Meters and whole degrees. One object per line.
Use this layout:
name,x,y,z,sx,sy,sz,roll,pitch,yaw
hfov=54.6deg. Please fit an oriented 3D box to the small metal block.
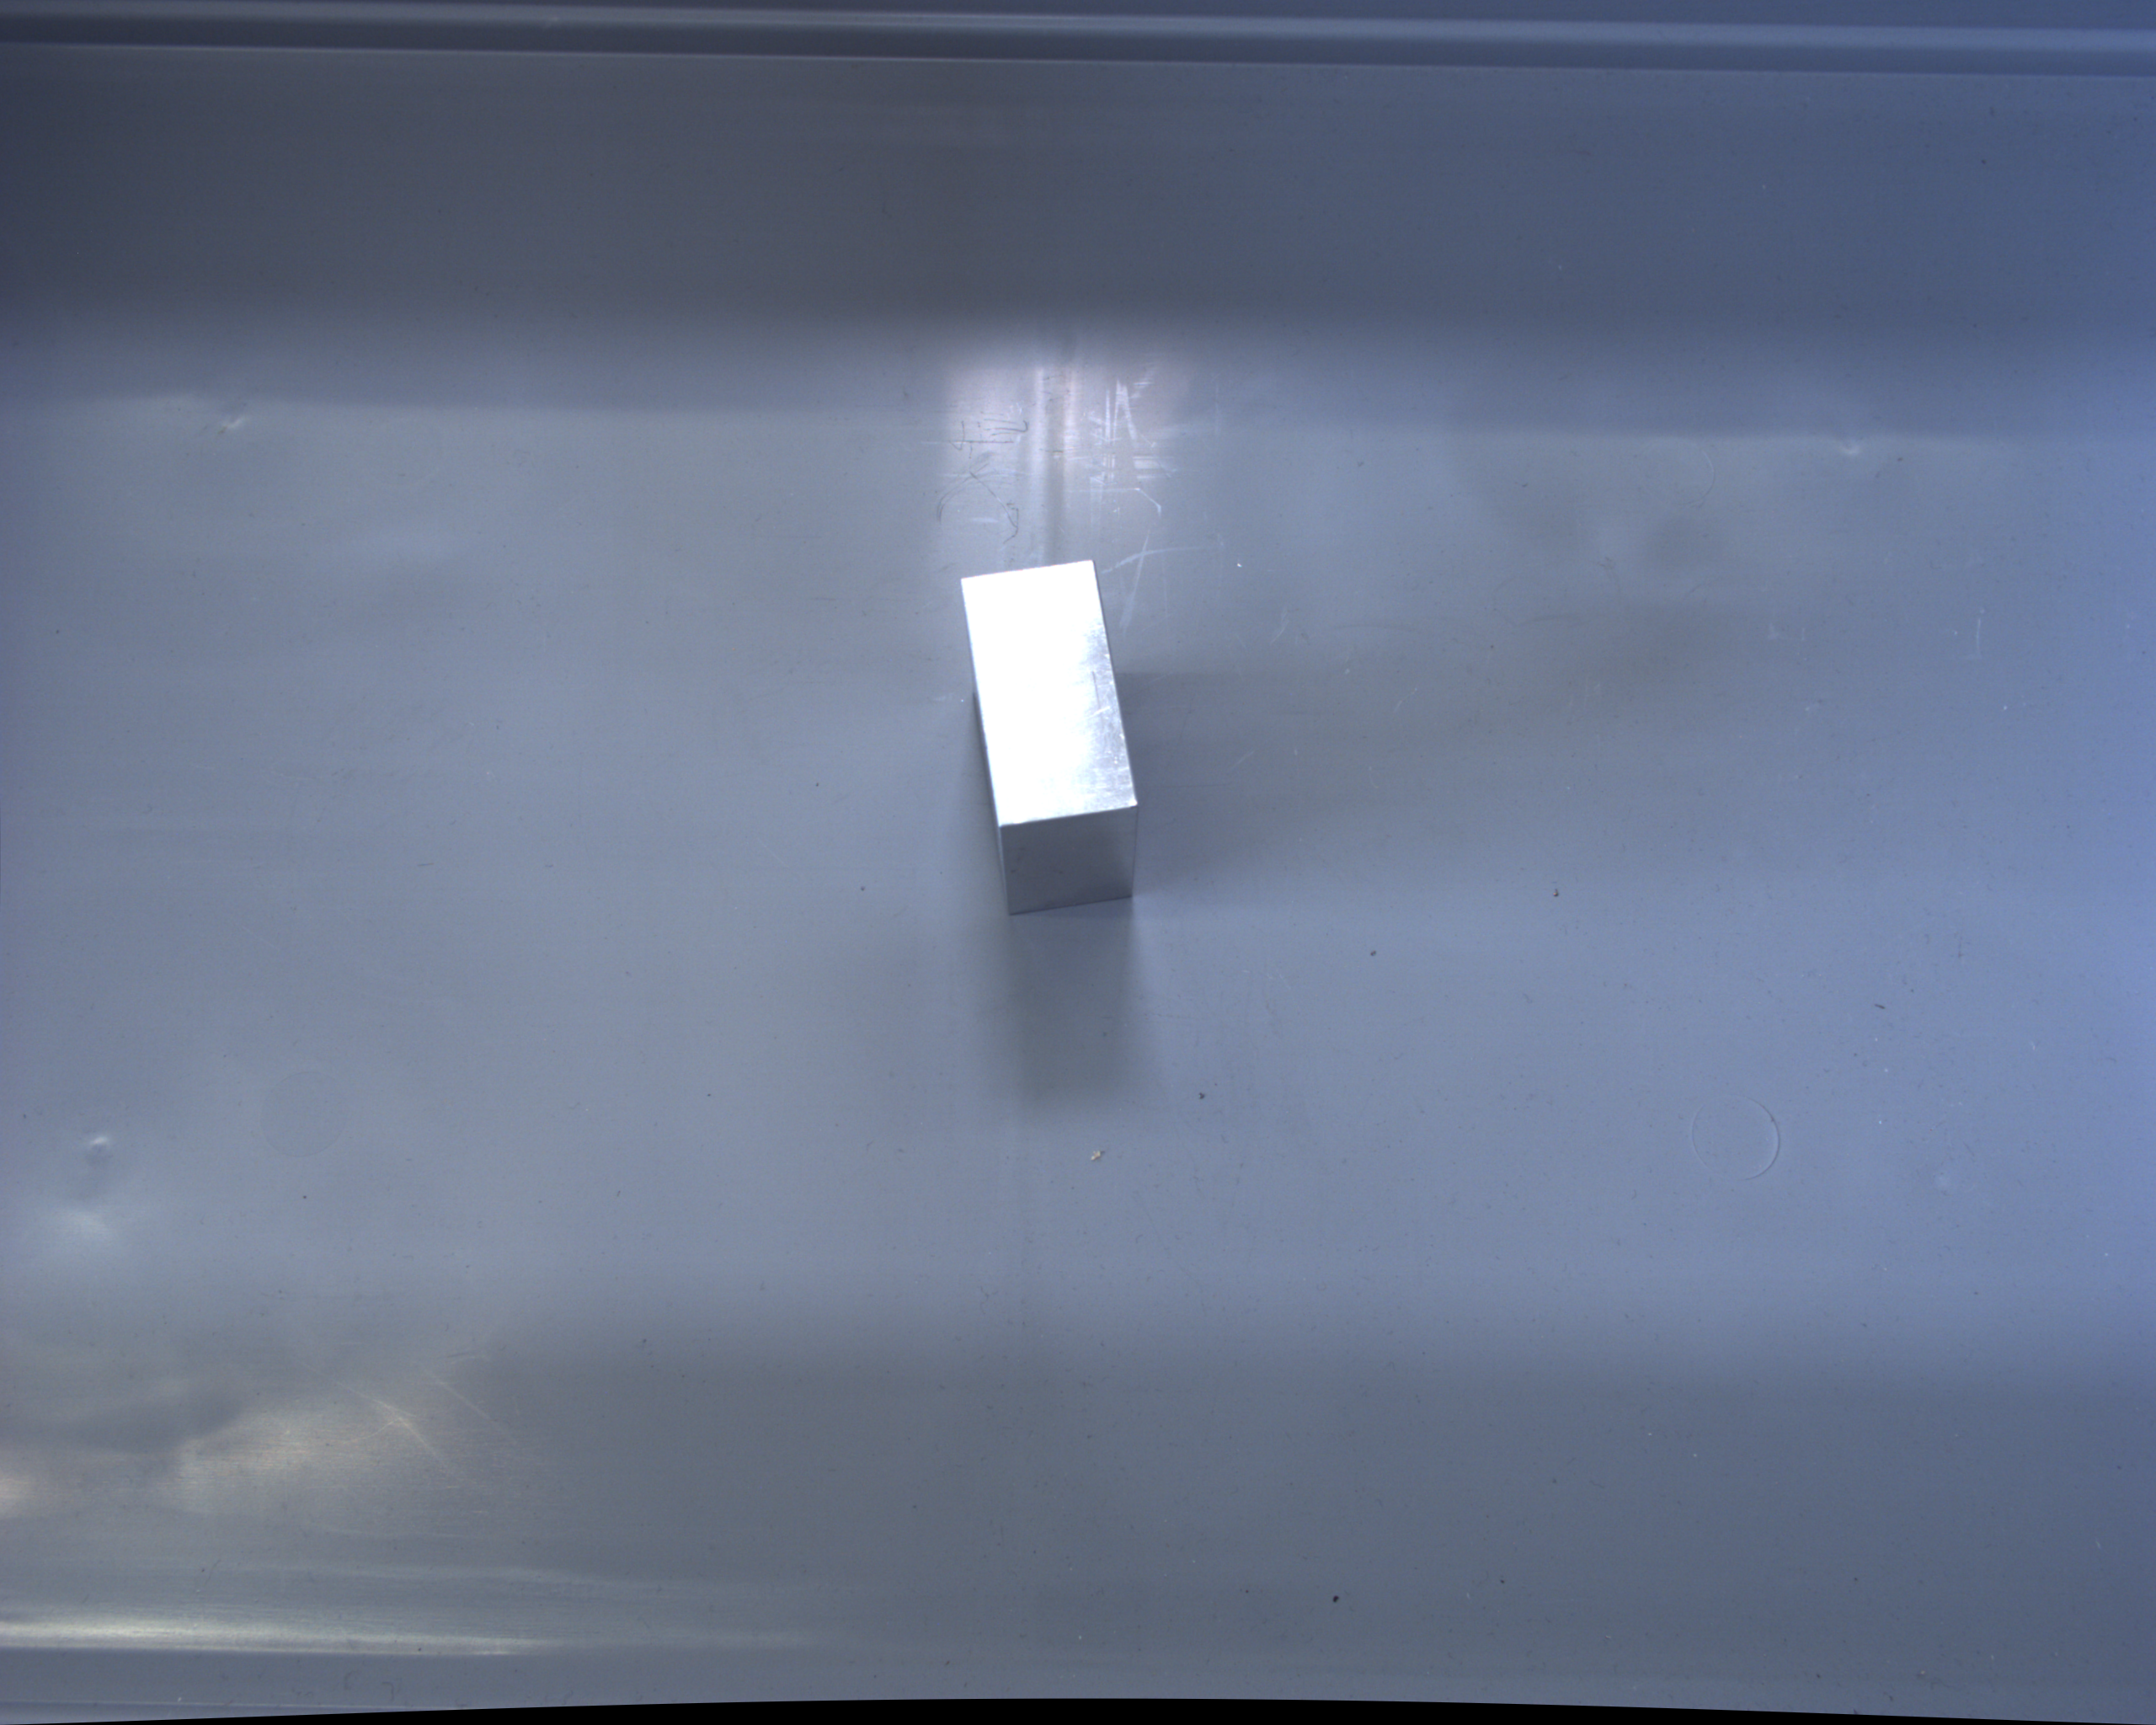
small metal block,-0.006,-0.023,0.401,0.025,0.050,0.050,-8,70,-3
